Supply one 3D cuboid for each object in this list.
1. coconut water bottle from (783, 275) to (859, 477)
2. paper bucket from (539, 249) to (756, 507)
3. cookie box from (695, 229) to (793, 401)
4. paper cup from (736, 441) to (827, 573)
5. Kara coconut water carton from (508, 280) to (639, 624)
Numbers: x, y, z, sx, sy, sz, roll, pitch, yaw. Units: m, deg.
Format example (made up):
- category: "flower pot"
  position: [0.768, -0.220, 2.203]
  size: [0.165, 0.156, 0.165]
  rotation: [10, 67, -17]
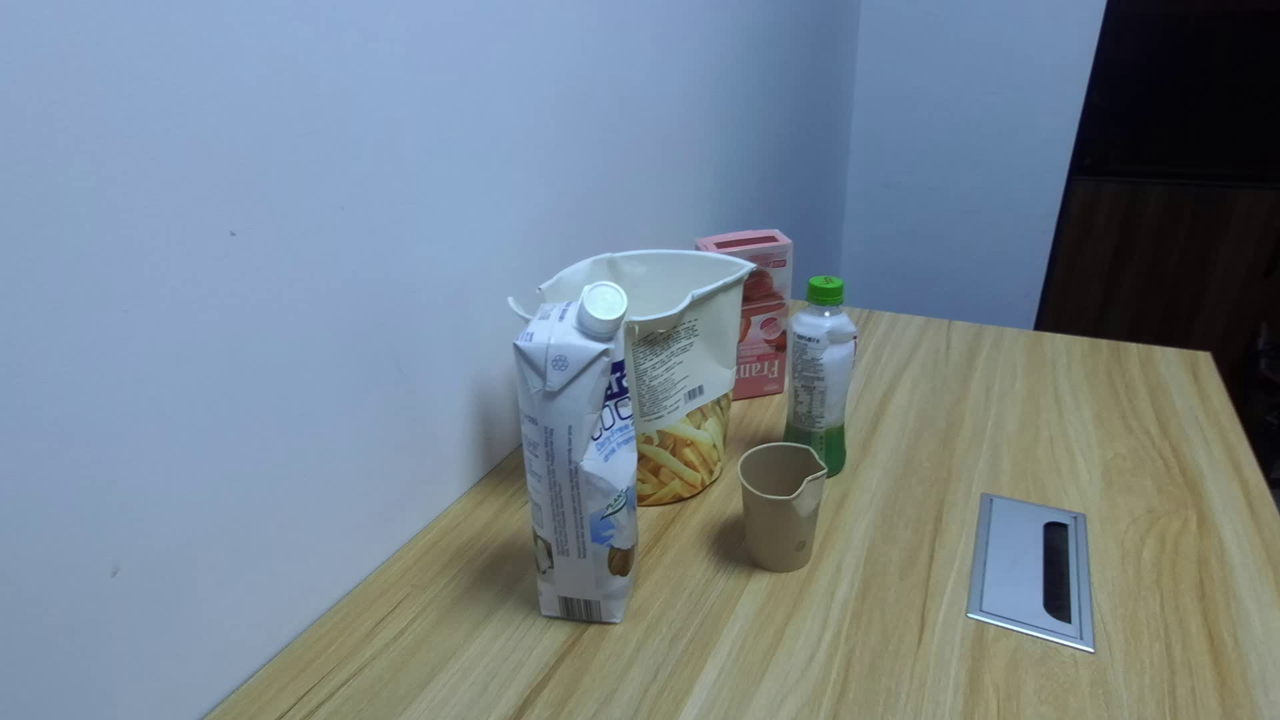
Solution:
- category: "coconut water bottle"
  position: [0.168, 0.016, 0.654]
  size: [0.069, 0.186, 0.069]
  rotation: [0, 25, 1]
- category: "paper bucket"
  position: [0.002, 0.014, 0.664]
  size: [0.145, 0.197, 0.203]
  rotation: [15, 32, 35]
- category: "cookie box"
  position: [0.111, -0.047, 0.795]
  size: [0.105, 0.188, 0.048]
  rotation: [-7, 27, -9]
- category: "paper cup"
  position: [0.112, 0.121, 0.567]
  size: [0.069, 0.081, 0.073]
  rotation: [-8, 25, -7]
- category: "Kara coconut water carton"
  position: [-0.042, 0.068, 0.502]
  size: [0.078, 0.256, 0.083]
  rotation: [10, 29, 22]
